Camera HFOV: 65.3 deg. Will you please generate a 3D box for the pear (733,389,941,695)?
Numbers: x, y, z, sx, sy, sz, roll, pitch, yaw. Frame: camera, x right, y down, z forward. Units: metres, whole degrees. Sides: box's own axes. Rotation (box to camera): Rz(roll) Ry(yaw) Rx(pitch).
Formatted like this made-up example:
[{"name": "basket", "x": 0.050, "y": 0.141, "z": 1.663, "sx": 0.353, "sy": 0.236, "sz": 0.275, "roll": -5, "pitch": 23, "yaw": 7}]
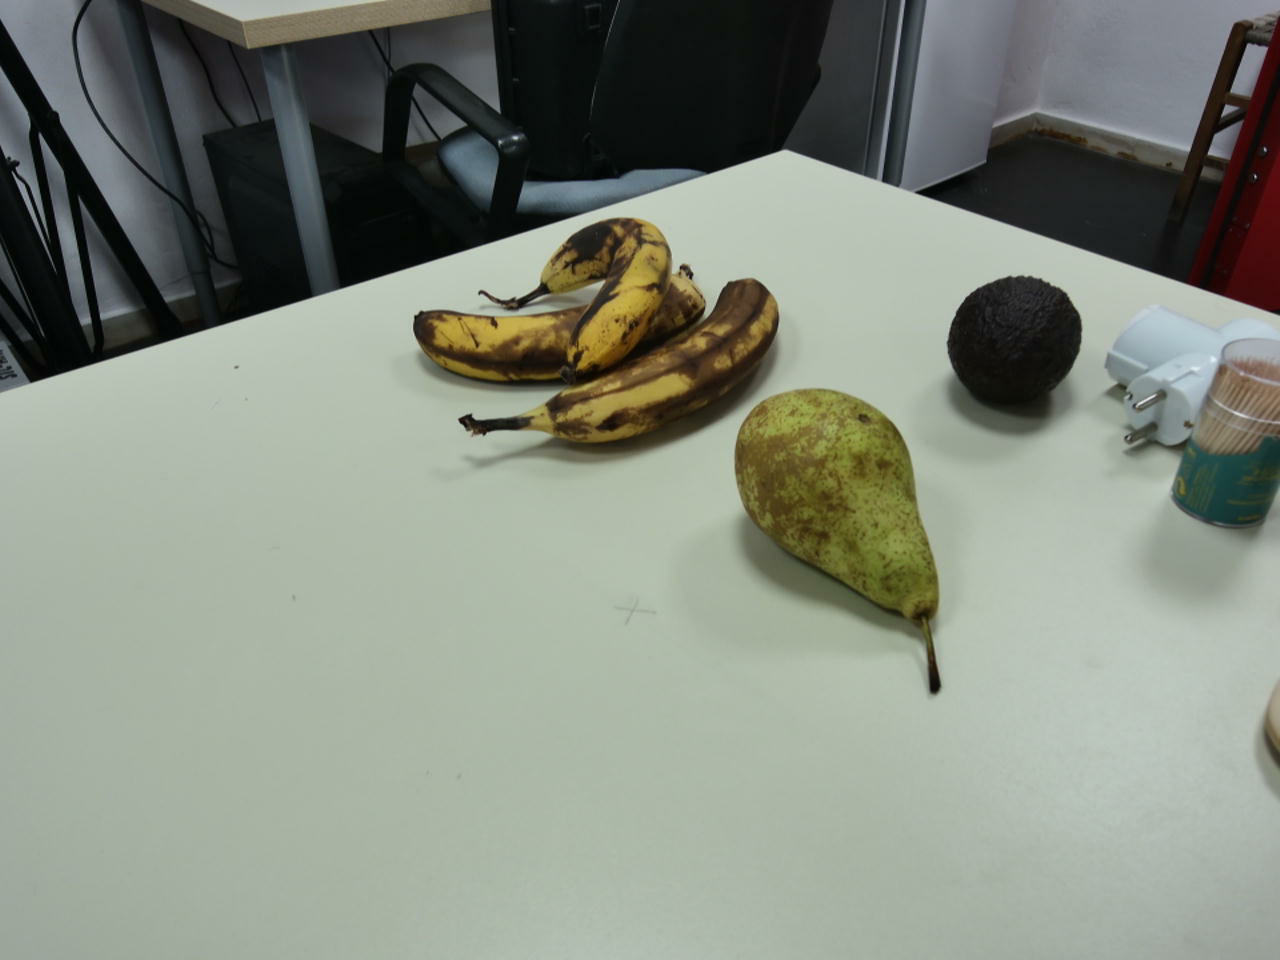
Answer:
[{"name": "pear", "x": 0.092, "y": 0.008, "z": 0.416, "sx": 0.128, "sy": 0.075, "sz": 0.071, "roll": 31, "pitch": 44, "yaw": 35}]
